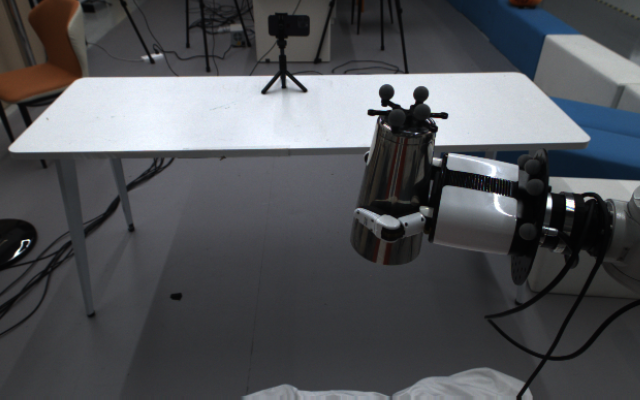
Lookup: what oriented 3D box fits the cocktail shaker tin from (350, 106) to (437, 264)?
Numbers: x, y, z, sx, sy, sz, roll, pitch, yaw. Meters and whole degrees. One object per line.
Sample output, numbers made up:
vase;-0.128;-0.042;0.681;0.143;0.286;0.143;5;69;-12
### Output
cocktail shaker tin;0.092;-0.017;0.580;0.093;0.170;0.093;3;34;-2
